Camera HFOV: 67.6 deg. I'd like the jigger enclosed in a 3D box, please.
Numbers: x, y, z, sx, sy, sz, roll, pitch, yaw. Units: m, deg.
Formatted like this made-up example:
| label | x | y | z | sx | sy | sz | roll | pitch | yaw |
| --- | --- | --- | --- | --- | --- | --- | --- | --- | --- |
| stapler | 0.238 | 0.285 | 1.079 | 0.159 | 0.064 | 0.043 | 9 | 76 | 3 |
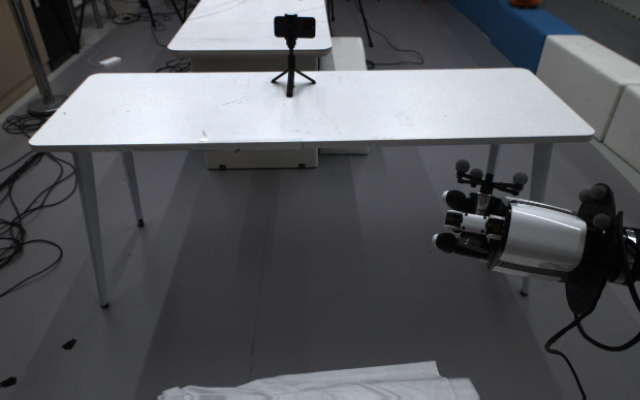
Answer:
| label | x | y | z | sx | sy | sz | roll | pitch | yaw |
| --- | --- | --- | --- | --- | --- | --- | --- | --- | --- |
| jigger | 0.203 | 0.028 | 0.614 | 0.043 | 0.071 | 0.043 | 16 | -7 | 2 |
